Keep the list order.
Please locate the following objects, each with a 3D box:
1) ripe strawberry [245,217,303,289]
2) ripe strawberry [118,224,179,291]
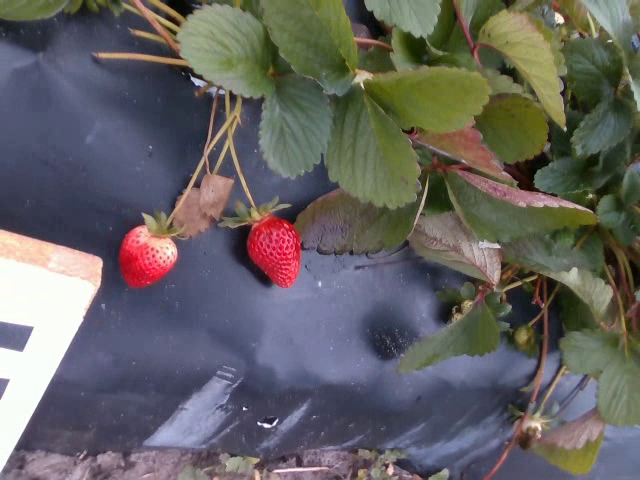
[{"bbox_3d":[-0.028,0.007,0.380,0.044,0.059,0.042,-12,21,10],"label":"ripe strawberry"},{"bbox_3d":[-0.101,0.012,0.347,0.036,0.041,0.028,24,13,-20],"label":"ripe strawberry"}]
